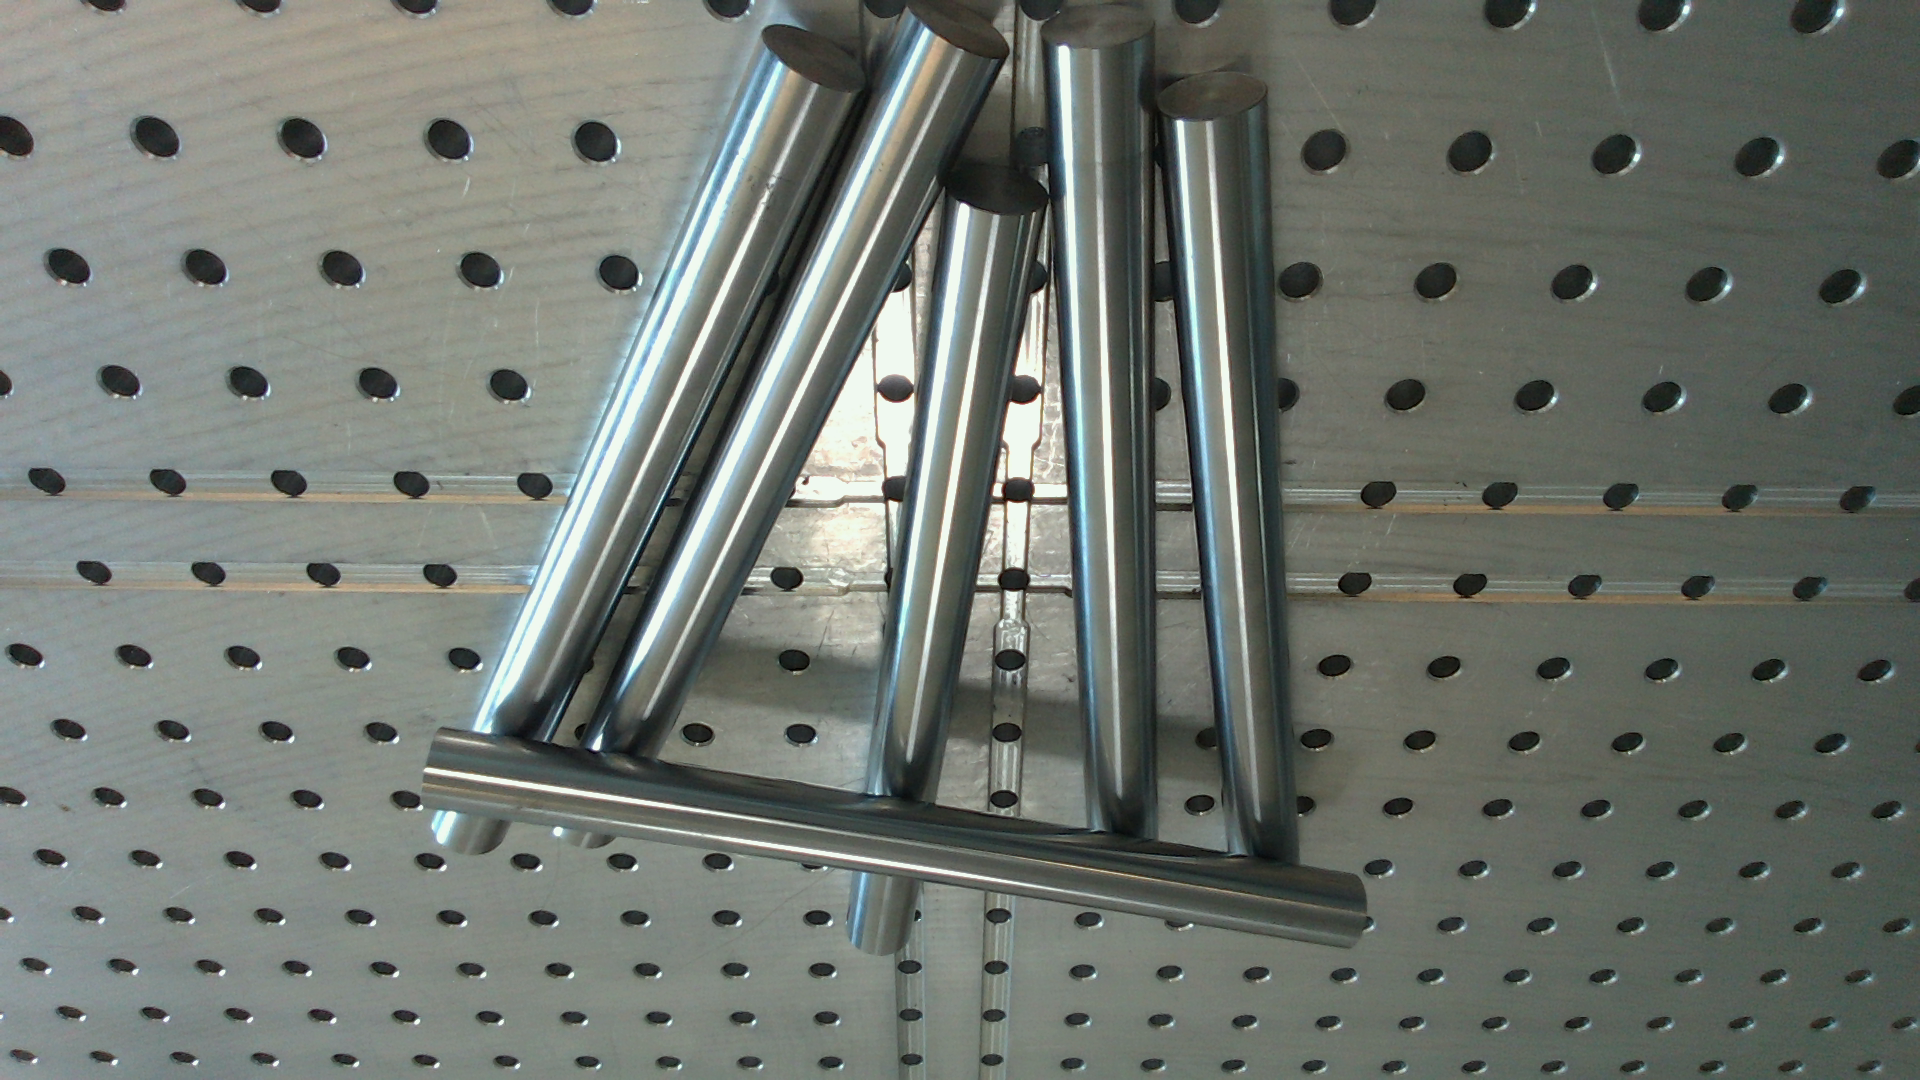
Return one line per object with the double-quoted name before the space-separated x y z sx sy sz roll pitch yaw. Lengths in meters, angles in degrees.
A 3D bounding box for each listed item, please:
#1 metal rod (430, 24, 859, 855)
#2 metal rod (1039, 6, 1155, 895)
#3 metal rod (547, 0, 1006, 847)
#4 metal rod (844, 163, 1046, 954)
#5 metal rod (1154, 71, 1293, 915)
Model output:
"metal rod" -0.102 -0.004 0.388 0.025 0.025 0.299 21 127 -17
"metal rod" 0.044 0.002 0.396 0.025 0.025 0.300 -4 130 3
"metal rod" -0.065 -0.009 0.386 0.025 0.025 0.299 20 127 -16
"metal rod" -0.012 0.031 0.419 0.025 0.025 0.300 6 130 -5
"metal rod" 0.083 0.013 0.405 0.025 0.025 0.300 -8 130 6
